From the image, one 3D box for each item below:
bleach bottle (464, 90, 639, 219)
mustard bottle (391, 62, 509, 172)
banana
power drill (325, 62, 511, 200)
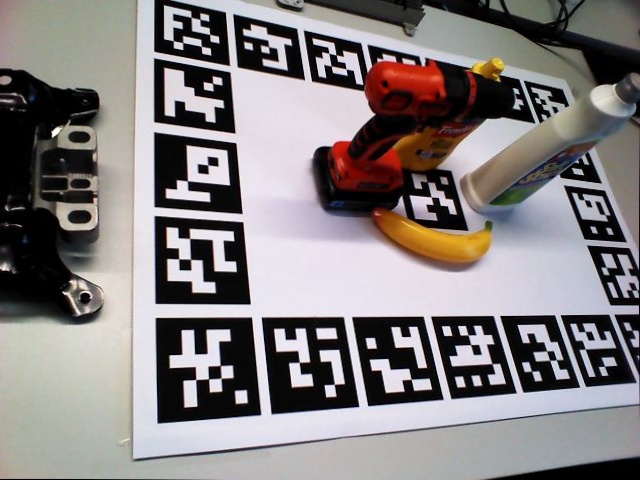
[{"bbox_3d":[0.314,-0.112,0.695,0.102,0.252,0.067,-5,69,-28],"label":"bleach bottle"},{"bbox_3d":[0.180,-0.162,0.683,0.096,0.193,0.058,4,64,-25],"label":"mustard bottle"},{"bbox_3d":[0.173,-0.002,0.689,0.197,0.039,0.074,6,68,-21],"label":"banana"},{"bbox_3d":[0.103,-0.121,0.602,0.184,0.188,0.057,1,58,-28],"label":"power drill"}]
